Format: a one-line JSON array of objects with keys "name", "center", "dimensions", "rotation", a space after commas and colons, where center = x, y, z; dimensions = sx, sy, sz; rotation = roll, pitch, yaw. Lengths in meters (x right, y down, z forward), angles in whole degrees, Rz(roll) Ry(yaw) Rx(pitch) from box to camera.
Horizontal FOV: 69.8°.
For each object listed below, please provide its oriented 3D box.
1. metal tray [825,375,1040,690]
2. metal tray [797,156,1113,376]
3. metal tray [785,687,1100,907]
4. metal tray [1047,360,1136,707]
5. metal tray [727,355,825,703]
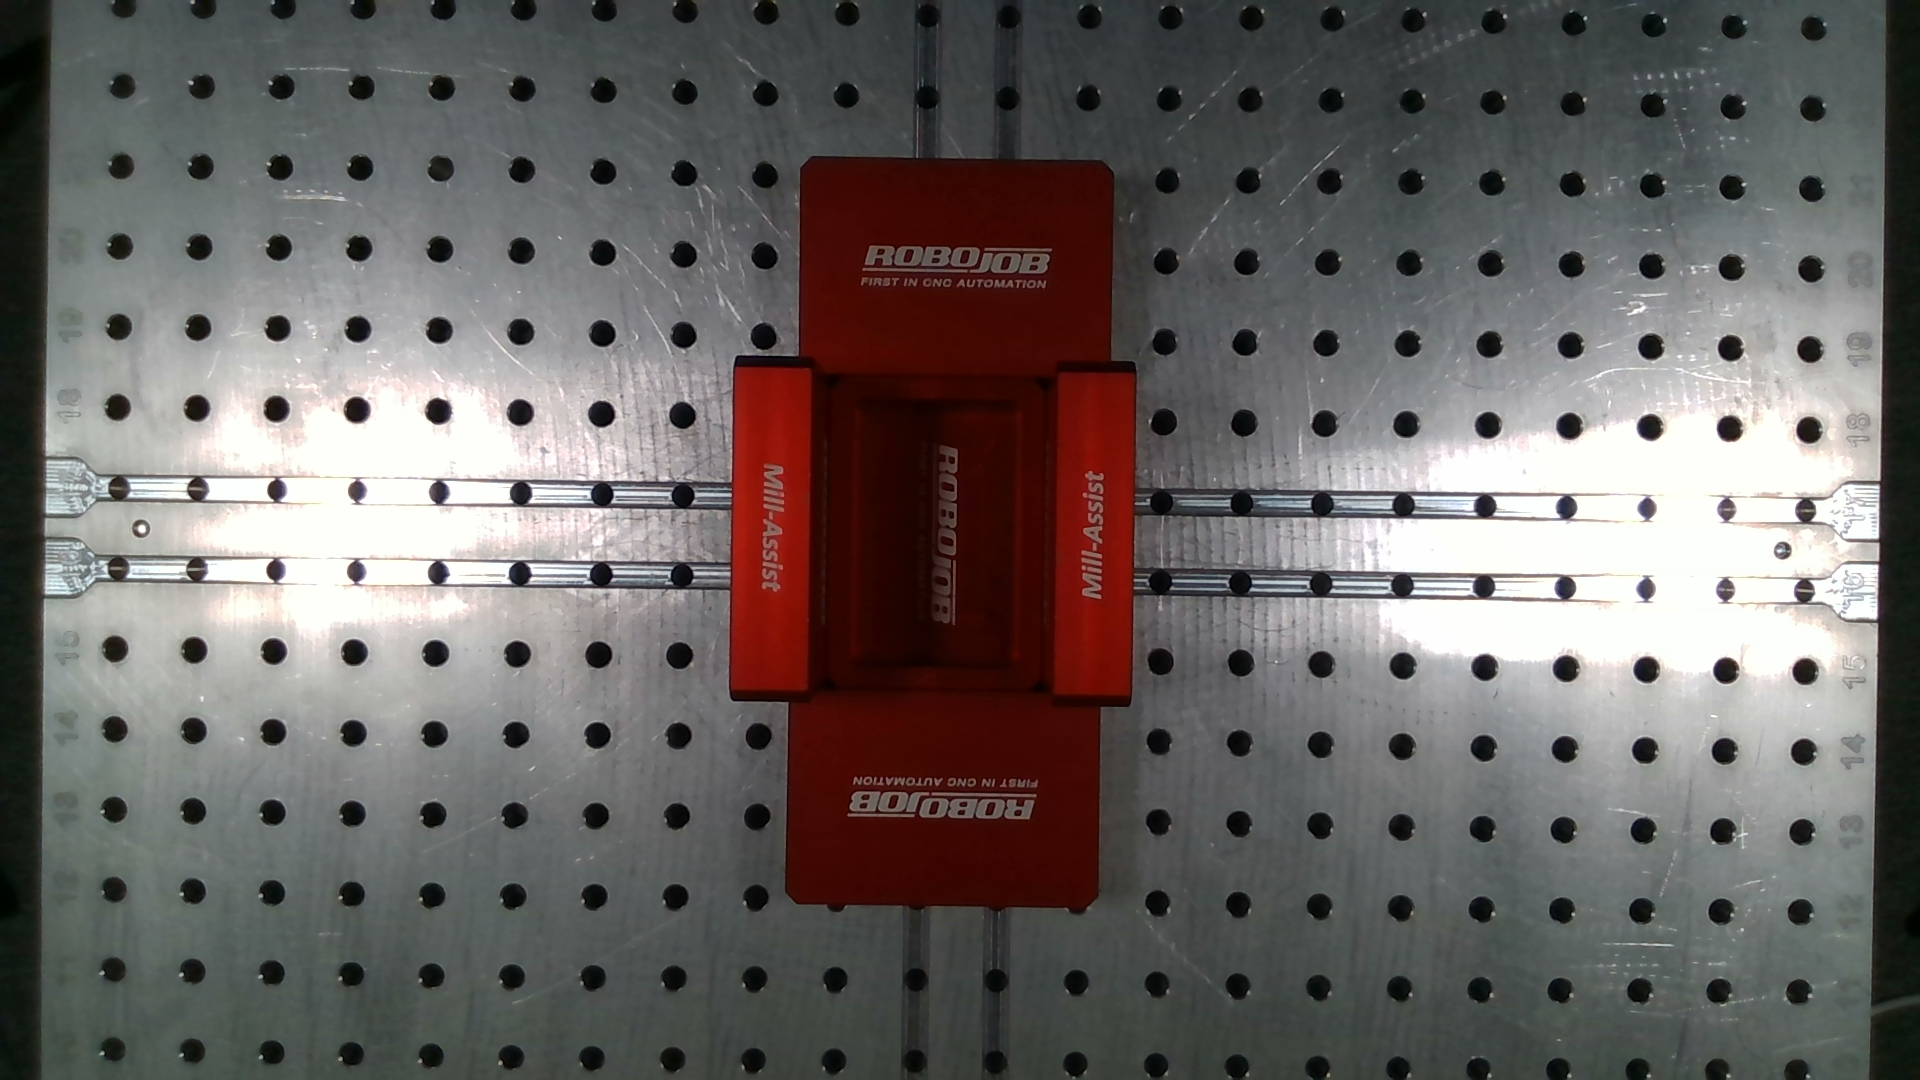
[{"name": "metal tray", "center": [-0.010, -0.003, 0.584], "dimensions": [0.090, 0.030, 0.130], "rotation": [1, 91, 0]}, {"name": "metal tray", "center": [-0.002, -0.114, 0.585], "dimensions": [0.130, 0.030, 0.090], "rotation": [1, 90, 0]}, {"name": "metal tray", "center": [-0.007, 0.107, 0.586], "dimensions": [0.130, 0.030, 0.090], "rotation": [1, 91, 0]}, {"name": "metal tray", "center": [0.050, -0.002, 0.557], "dimensions": [0.030, 0.090, 0.130], "rotation": [1, 90, 0]}, {"name": "metal tray", "center": [-0.071, -0.004, 0.555], "dimensions": [0.030, 0.090, 0.130], "rotation": [1, 90, 0]}]
